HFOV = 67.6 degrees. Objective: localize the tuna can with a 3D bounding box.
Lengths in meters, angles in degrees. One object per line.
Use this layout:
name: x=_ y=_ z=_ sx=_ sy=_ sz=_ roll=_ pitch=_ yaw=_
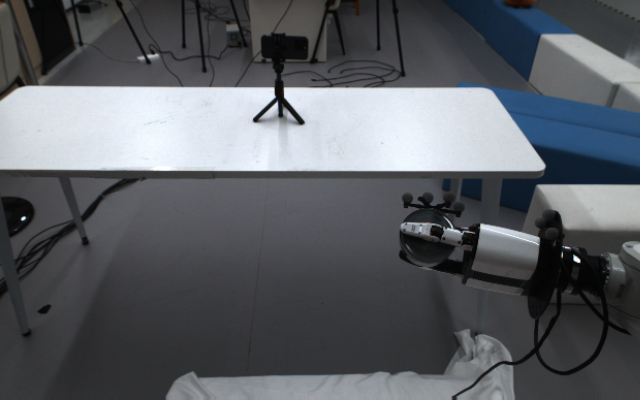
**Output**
tuna can: x=0.164 y=0.053 z=0.738 sx=0.085 sy=0.034 sz=0.085 roll=-2 pitch=70 yaw=7
